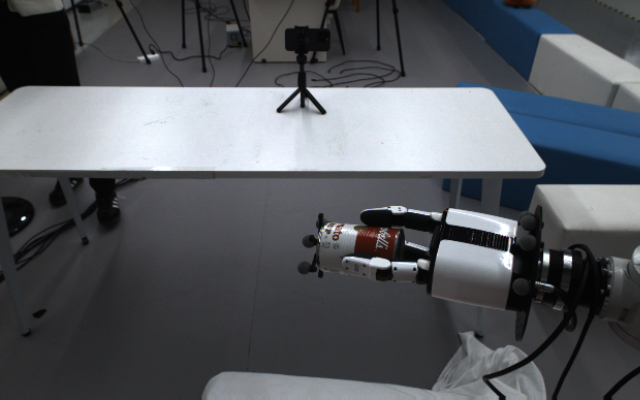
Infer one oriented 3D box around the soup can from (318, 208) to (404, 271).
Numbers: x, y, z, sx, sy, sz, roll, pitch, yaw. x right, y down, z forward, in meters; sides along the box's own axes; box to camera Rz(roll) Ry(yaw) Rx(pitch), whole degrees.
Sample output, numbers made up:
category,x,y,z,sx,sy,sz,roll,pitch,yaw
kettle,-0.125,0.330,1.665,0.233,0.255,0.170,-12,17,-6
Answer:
category,x,y,z,sx,sy,sz,roll,pitch,yaw
soup can,0.056,0.065,0.626,0.101,0.067,0.067,4,34,18
